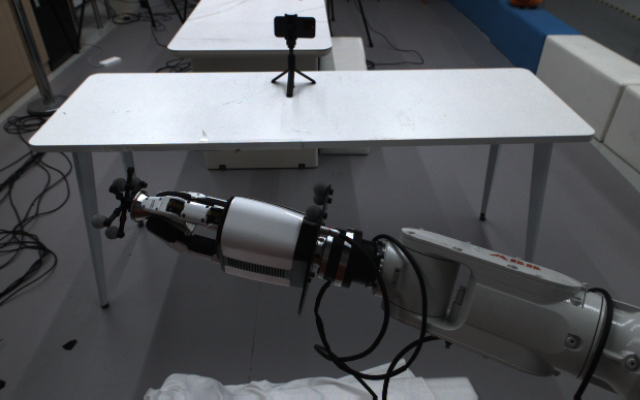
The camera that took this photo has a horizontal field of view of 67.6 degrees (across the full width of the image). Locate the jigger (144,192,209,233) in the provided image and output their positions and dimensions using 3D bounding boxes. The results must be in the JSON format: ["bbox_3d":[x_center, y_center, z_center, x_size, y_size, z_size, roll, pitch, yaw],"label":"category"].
[{"bbox_3d":[-0.179,0.012,0.581,0.071,0.043,0.043,13,36,4],"label":"jigger"}]
